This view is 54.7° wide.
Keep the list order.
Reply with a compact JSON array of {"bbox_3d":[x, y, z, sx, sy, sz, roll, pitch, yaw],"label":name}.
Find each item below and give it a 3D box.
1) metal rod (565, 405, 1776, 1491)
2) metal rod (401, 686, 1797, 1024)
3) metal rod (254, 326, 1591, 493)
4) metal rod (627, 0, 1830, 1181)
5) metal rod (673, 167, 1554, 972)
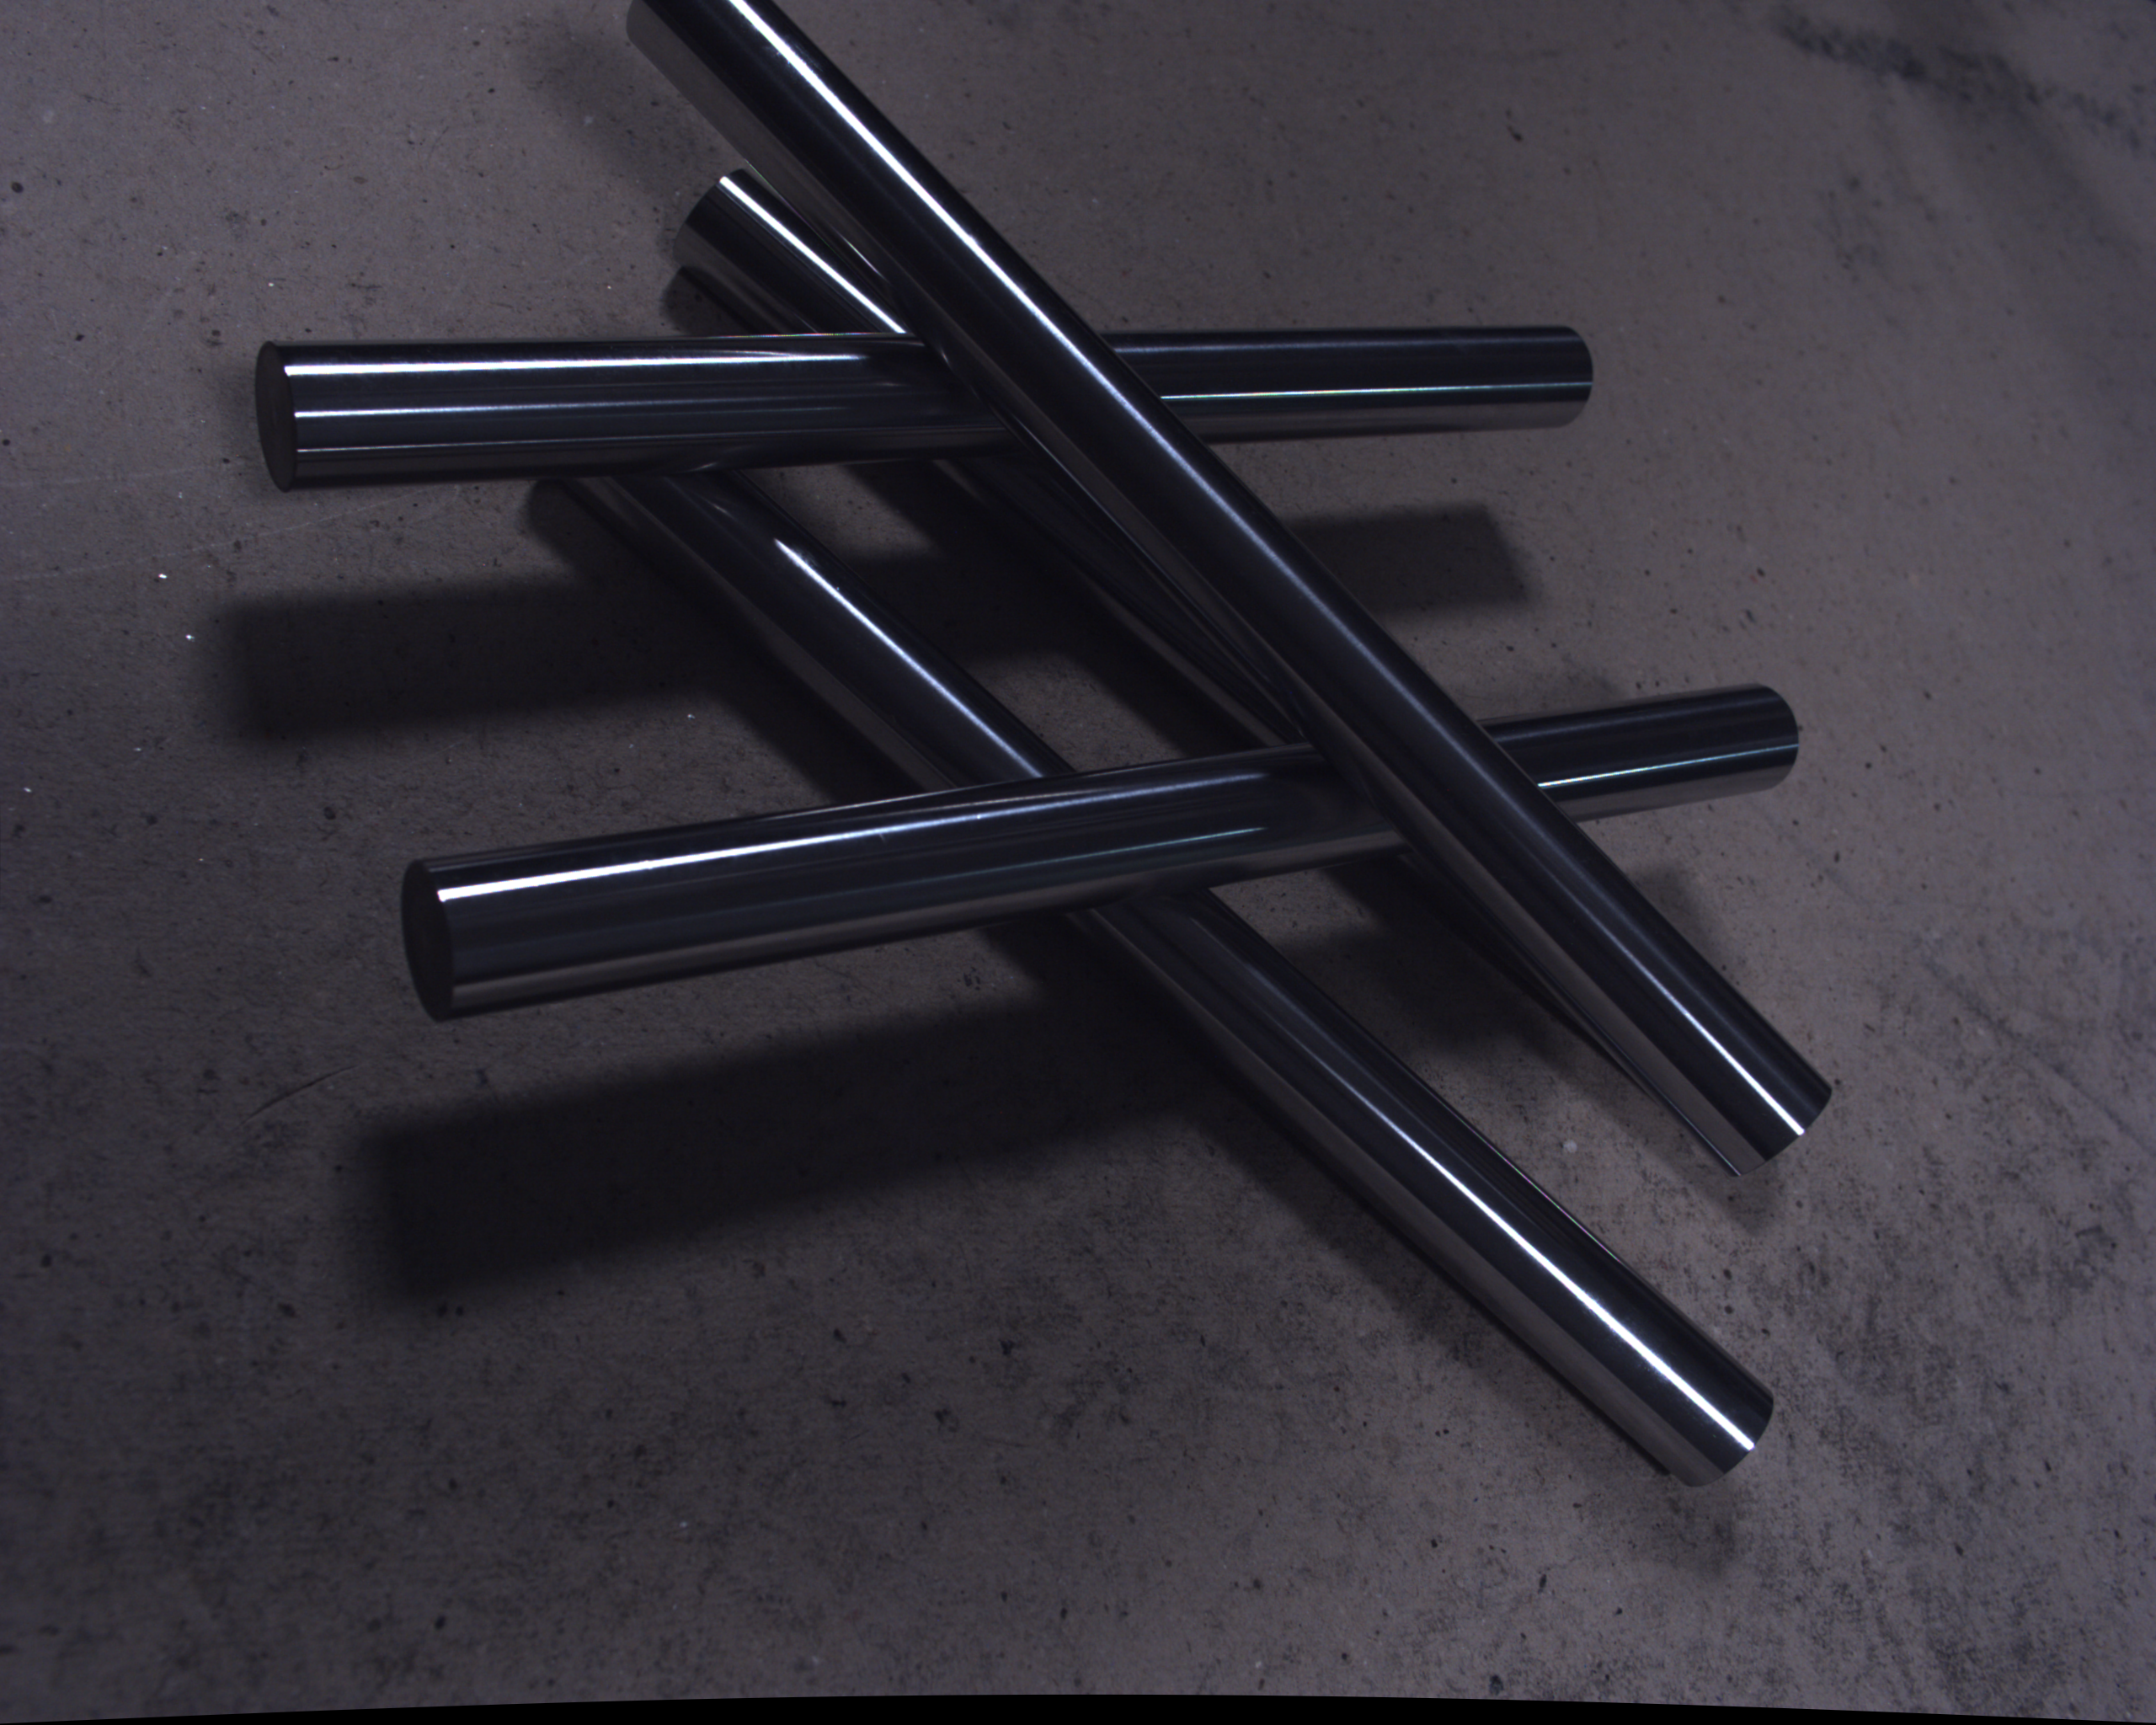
[{"bbox_3d":[0.015,0.012,0.406,0.300,0.025,0.025,42,51,0],"label":"metal rod"},{"bbox_3d":[0.028,-0.008,0.395,0.303,0.025,0.025,-9,67,-32],"label":"metal rod"},{"bbox_3d":[-0.009,-0.097,0.429,0.303,0.025,0.025,-10,67,-33],"label":"metal rod"},{"bbox_3d":[0.025,-0.059,0.393,0.300,0.025,0.025,47,51,4],"label":"metal rod"},{"bbox_3d":[0.036,-0.043,0.452,0.300,0.025,0.025,40,51,-1],"label":"metal rod"}]
